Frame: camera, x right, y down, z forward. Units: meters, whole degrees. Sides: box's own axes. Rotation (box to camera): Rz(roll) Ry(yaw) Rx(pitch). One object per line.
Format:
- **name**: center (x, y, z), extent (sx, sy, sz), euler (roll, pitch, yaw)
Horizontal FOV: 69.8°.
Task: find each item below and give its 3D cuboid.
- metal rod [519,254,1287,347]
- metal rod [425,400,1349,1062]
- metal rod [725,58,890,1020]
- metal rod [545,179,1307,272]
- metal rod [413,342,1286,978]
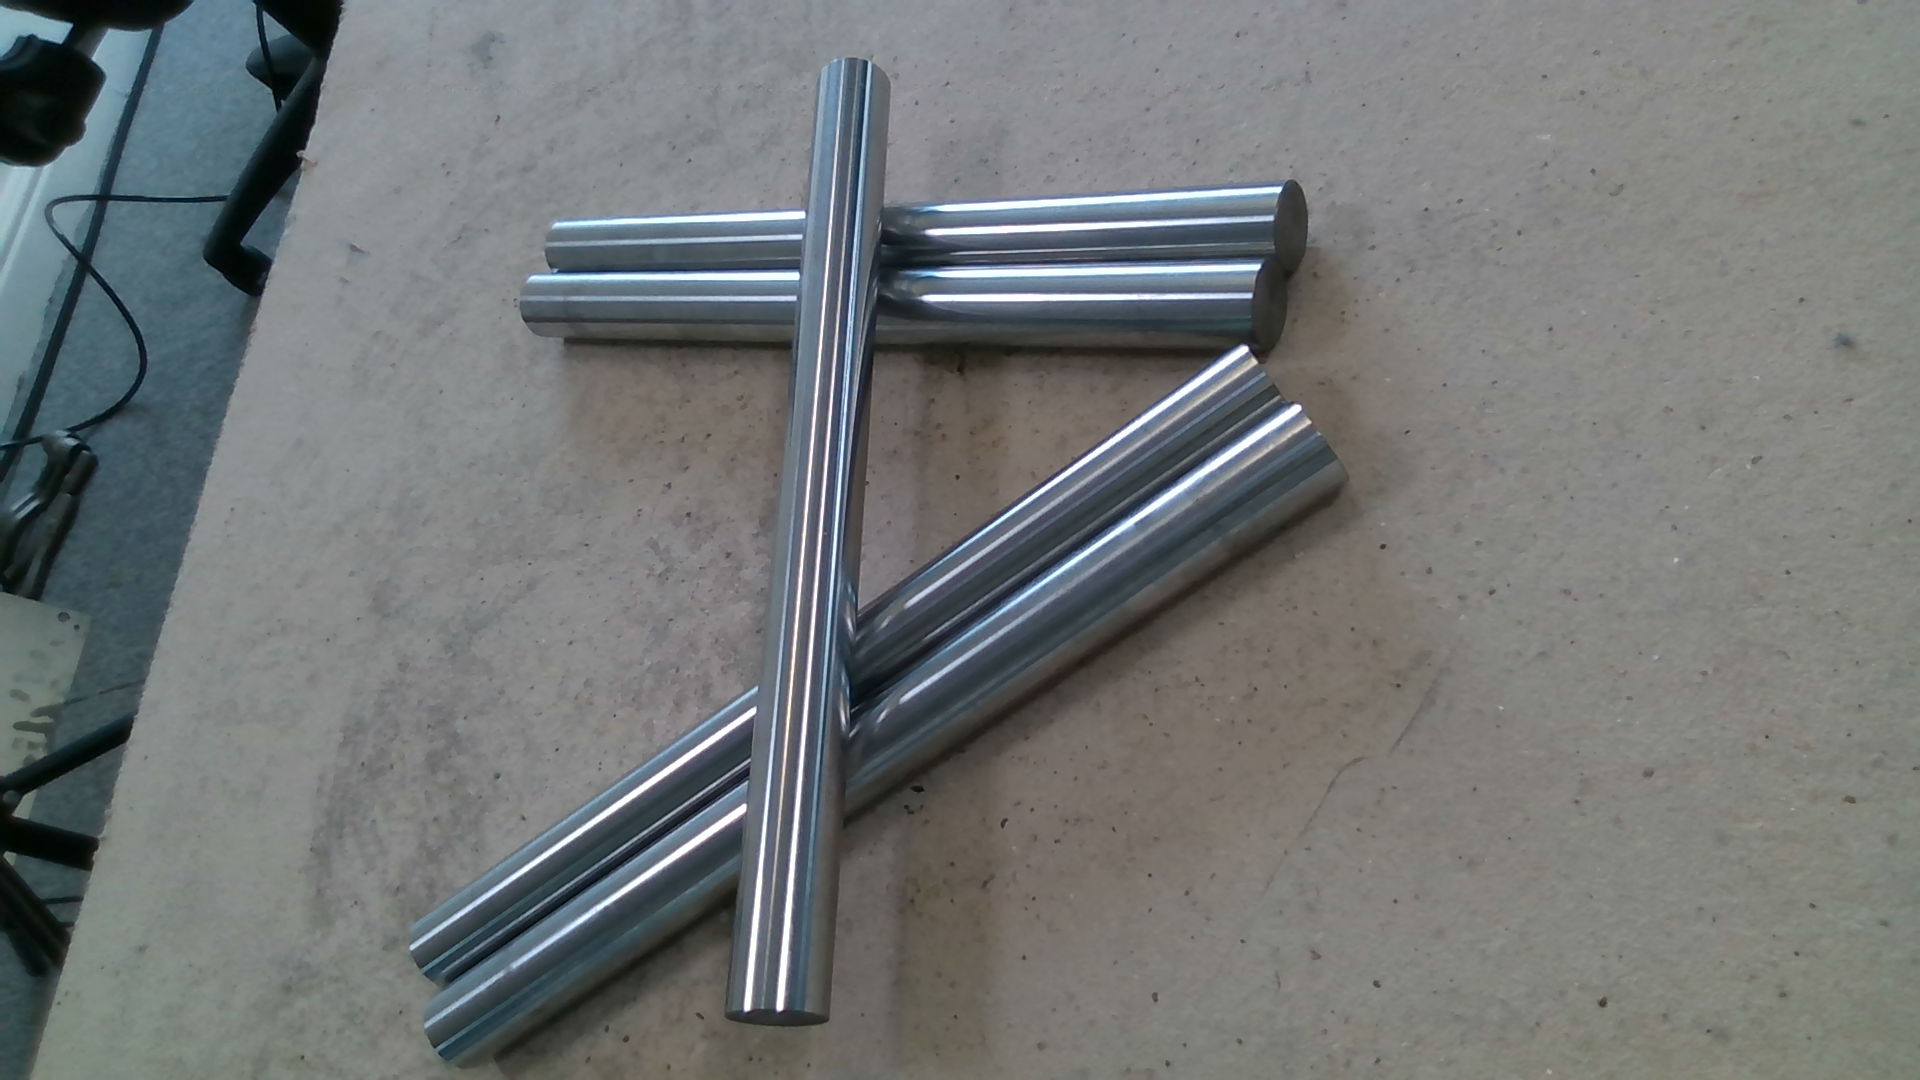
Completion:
- **metal rod**: center (-0.039, -0.079, 0.459), extent (0.300, 0.025, 0.025), euler (6, 69, 34)
- **metal rod**: center (-0.029, 0.059, 0.380), extent (0.300, 0.025, 0.025), euler (-35, 52, 11)
- **metal rod**: center (-0.040, -0.020, 0.396), extent (0.025, 0.025, 0.299), euler (-13, 60, 26)
- **metal rod**: center (-0.032, -0.101, 0.466), extent (0.300, 0.025, 0.025), euler (6, 69, 34)
- **metal rod**: center (-0.038, 0.042, 0.395), extent (0.300, 0.025, 0.025), euler (-35, 52, 11)
